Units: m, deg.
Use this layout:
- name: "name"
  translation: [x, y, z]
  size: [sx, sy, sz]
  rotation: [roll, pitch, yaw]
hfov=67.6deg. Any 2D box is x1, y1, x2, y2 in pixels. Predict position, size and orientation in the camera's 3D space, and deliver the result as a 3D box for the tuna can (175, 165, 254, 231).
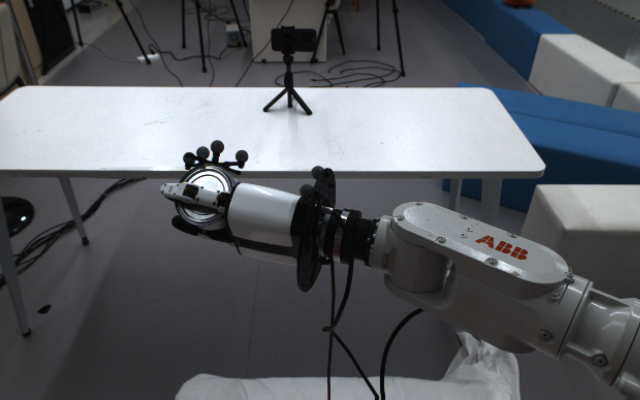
- name: "tuna can"
  translation: [-0.148, -0.002, 0.651]
  size: [0.085, 0.034, 0.085]
  rotation: [-5, 72, 14]
